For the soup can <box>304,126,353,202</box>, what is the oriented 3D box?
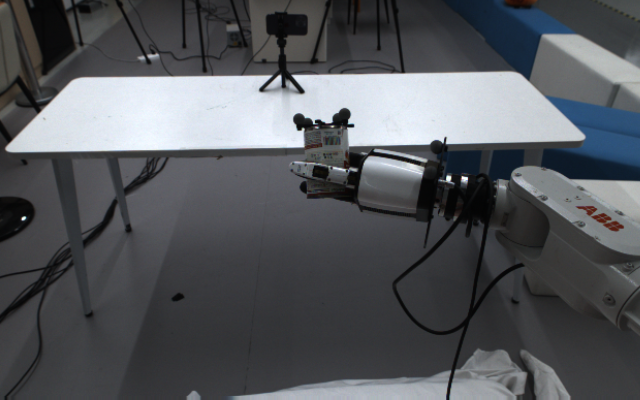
[{"bbox_3d":[0.012,-0.054,0.712,0.067,0.101,0.067,-3,-1,0],"label":"soup can"}]
